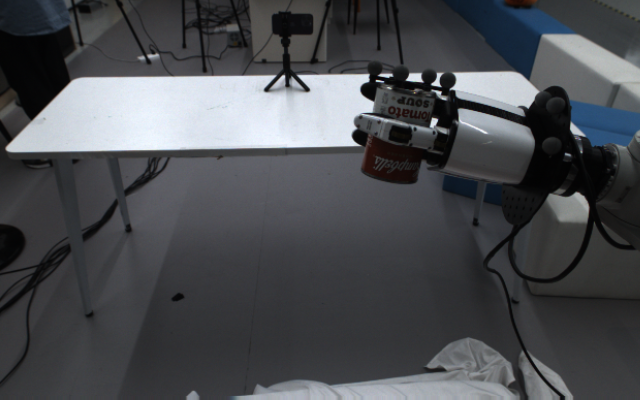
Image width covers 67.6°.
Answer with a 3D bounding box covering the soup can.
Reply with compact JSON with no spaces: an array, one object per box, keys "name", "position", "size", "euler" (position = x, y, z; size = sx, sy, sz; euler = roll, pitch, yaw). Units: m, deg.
[{"name":"soup can","position":[0.090,-0.076,0.550],"size":[0.067,0.101,0.067],"euler":[9,19,-3]}]
